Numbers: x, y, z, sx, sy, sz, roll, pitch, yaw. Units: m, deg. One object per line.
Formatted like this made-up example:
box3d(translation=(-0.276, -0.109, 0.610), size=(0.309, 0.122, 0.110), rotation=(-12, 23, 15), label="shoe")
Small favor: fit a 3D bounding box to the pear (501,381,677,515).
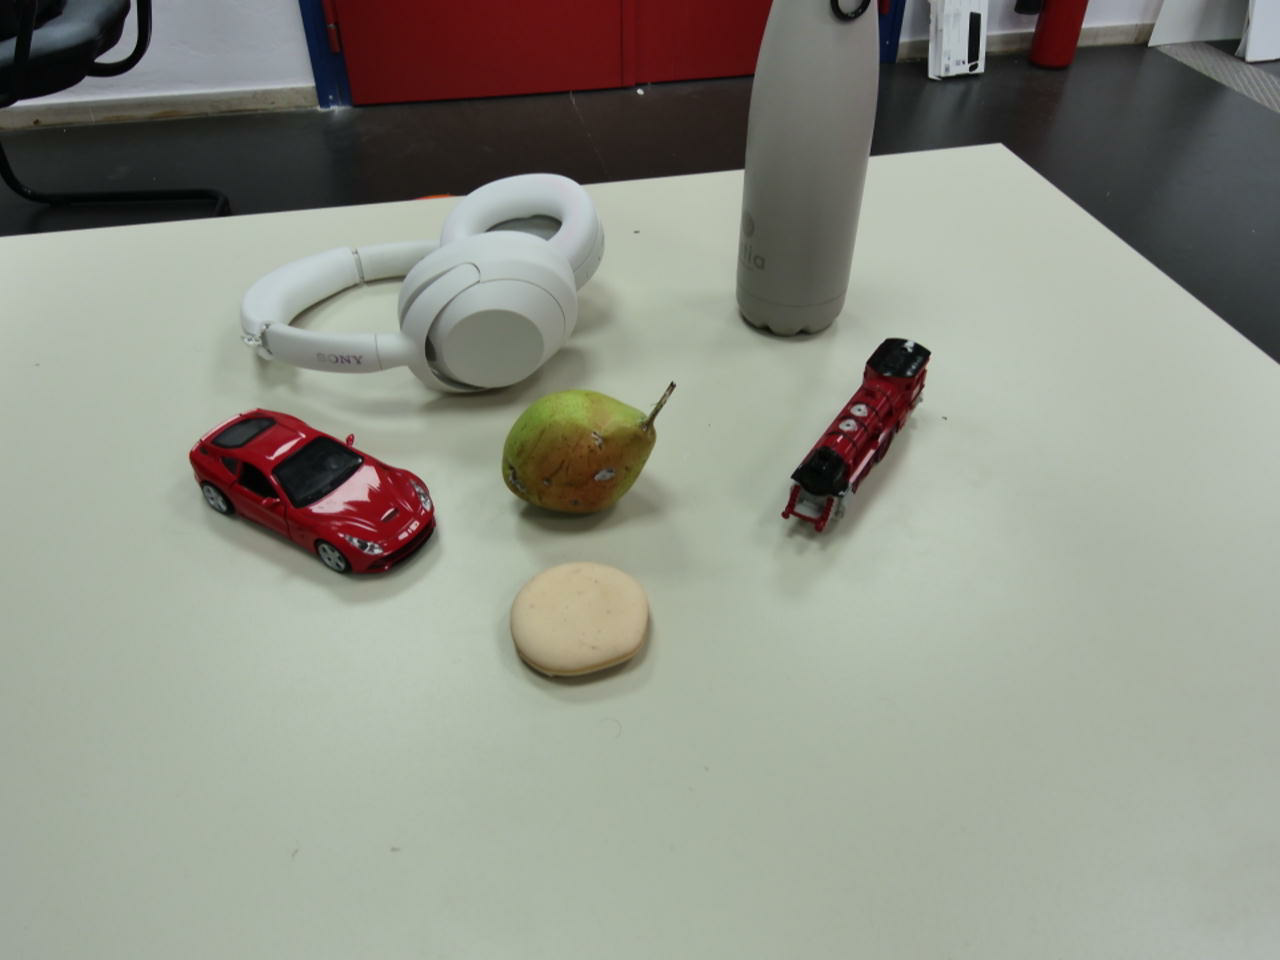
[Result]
box3d(translation=(-0.030, -0.016, 0.495), size=(0.070, 0.069, 0.068), rotation=(25, 46, 29), label="pear")
